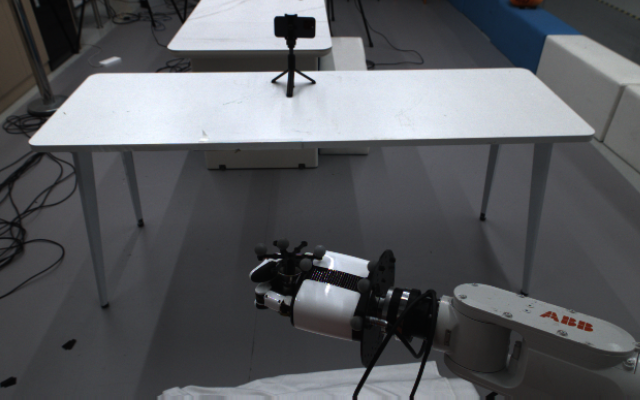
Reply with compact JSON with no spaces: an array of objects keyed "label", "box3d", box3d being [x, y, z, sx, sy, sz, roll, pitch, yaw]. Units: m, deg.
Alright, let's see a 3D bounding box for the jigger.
[{"label":"jigger","box3d":[-0.040,0.123,0.693,0.043,0.071,0.043,3,25,-1]}]
